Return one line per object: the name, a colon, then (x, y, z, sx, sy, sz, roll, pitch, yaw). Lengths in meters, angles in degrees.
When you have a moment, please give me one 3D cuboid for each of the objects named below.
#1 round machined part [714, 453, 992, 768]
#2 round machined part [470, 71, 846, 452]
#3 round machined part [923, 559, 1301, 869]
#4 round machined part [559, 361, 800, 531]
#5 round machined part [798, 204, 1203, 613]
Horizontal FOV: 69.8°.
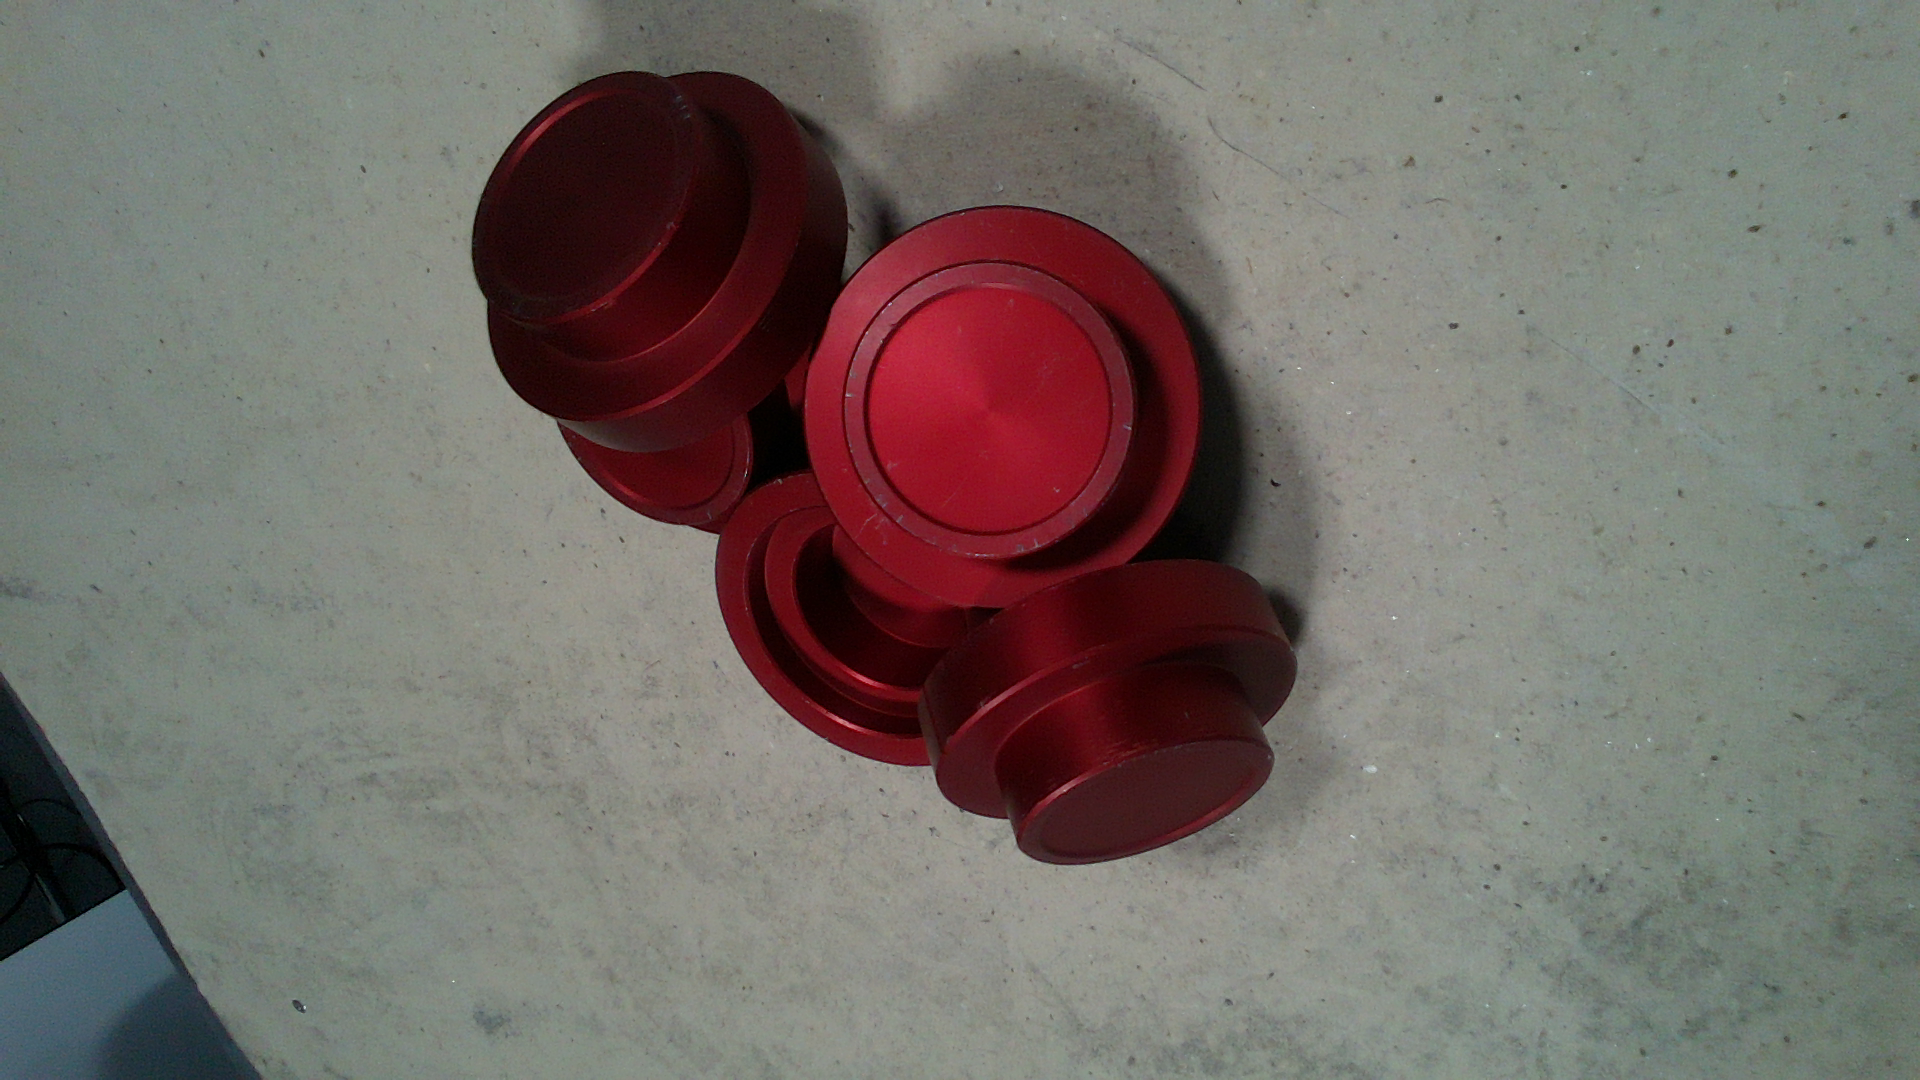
round machined part: (-0.019, 0.015, 0.401, 0.098, 0.042, 0.098, 13, 124, 21)
round machined part: (-0.081, -0.075, 0.341, 0.098, 0.098, 0.042, 1, 161, 28)
round machined part: (0.043, 0.050, 0.354, 0.098, 0.098, 0.042, -51, 48, 39)
round machined part: (-0.079, -0.044, 0.399, 0.098, 0.042, 0.098, 13, 124, 21)
round machined part: (0.009, -0.031, 0.330, 0.098, 0.042, 0.098, 1, 95, 7)
